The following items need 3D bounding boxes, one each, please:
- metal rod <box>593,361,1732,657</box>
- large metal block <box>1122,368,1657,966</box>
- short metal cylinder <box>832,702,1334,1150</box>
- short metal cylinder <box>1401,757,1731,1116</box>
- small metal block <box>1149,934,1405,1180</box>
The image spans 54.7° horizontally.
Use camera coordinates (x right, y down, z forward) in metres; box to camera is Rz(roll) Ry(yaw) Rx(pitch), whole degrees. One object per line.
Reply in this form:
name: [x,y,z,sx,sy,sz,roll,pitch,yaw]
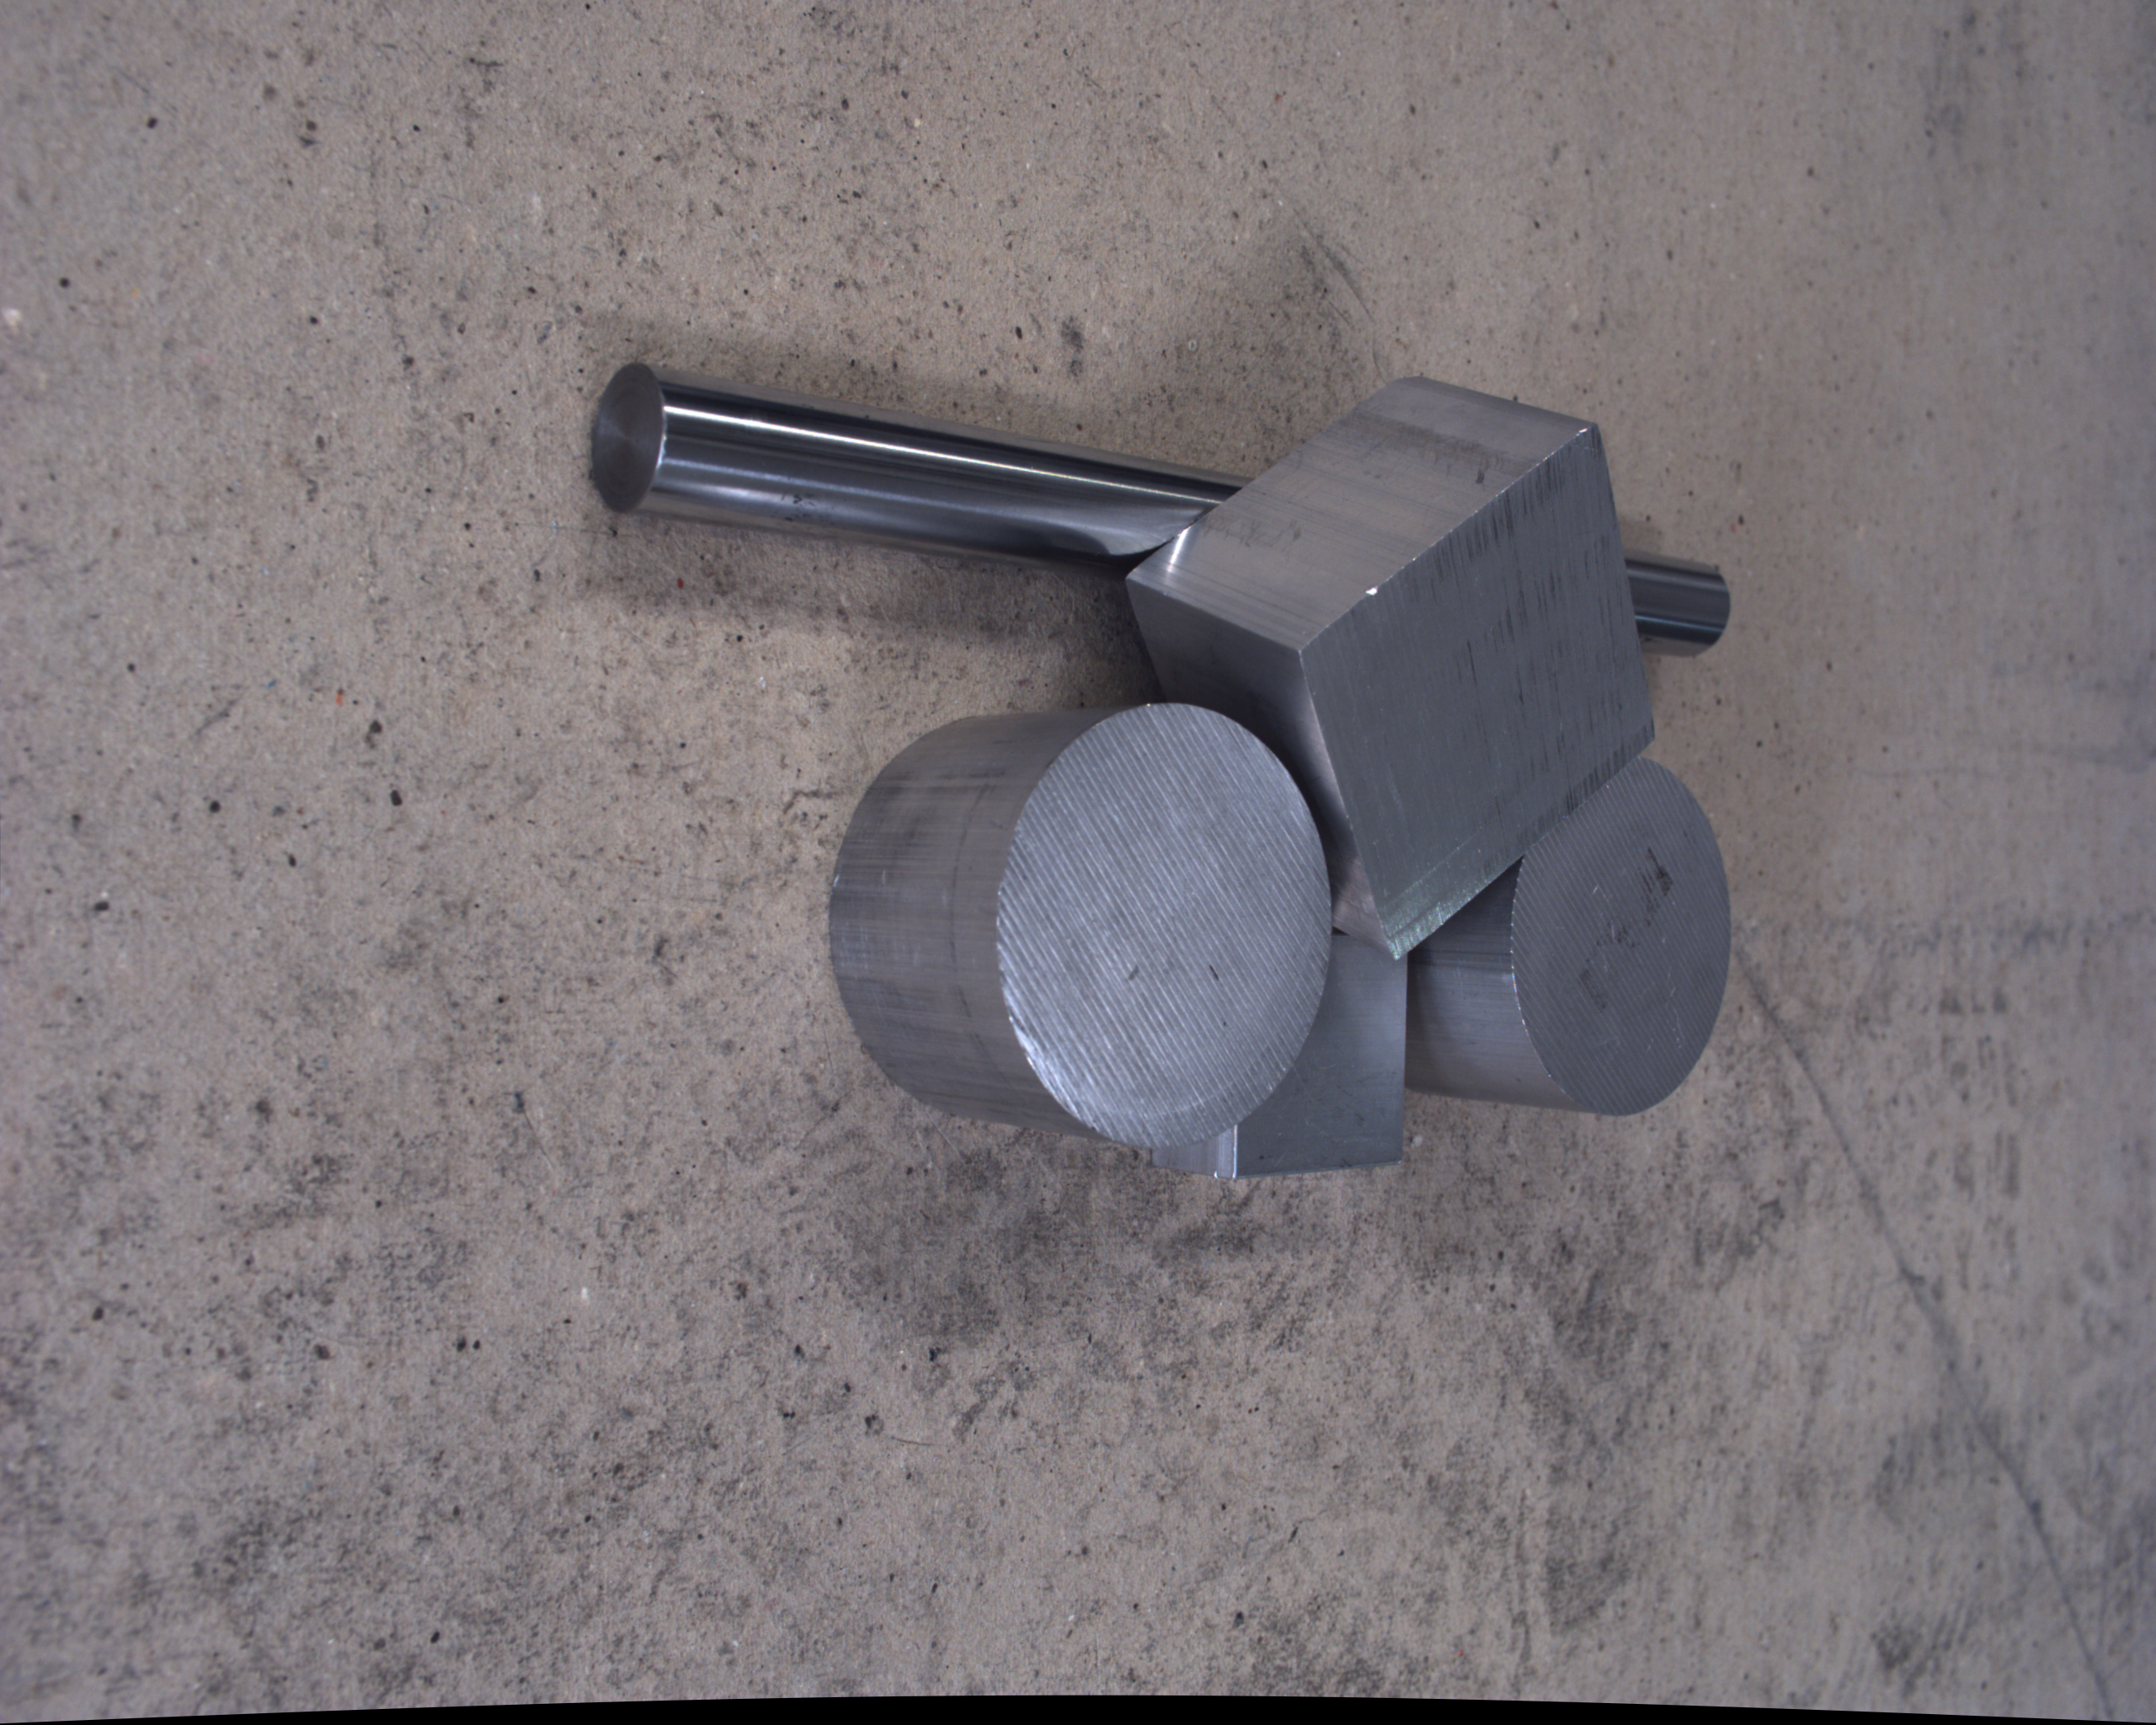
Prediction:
metal rod: [0.042,-0.068,0.441,0.302,0.025,0.025,1,90,-40]
large metal block: [0.066,-0.040,0.422,0.080,0.050,0.080,-38,131,-19]
short metal cylinder: [0.002,0.011,0.391,0.081,0.050,0.079,0,90,-40]
short metal cylinder: [0.105,0.016,0.478,0.081,0.050,0.079,0,90,-40]
small metal block: [0.043,0.039,0.443,0.050,0.025,0.050,2,89,-40]
